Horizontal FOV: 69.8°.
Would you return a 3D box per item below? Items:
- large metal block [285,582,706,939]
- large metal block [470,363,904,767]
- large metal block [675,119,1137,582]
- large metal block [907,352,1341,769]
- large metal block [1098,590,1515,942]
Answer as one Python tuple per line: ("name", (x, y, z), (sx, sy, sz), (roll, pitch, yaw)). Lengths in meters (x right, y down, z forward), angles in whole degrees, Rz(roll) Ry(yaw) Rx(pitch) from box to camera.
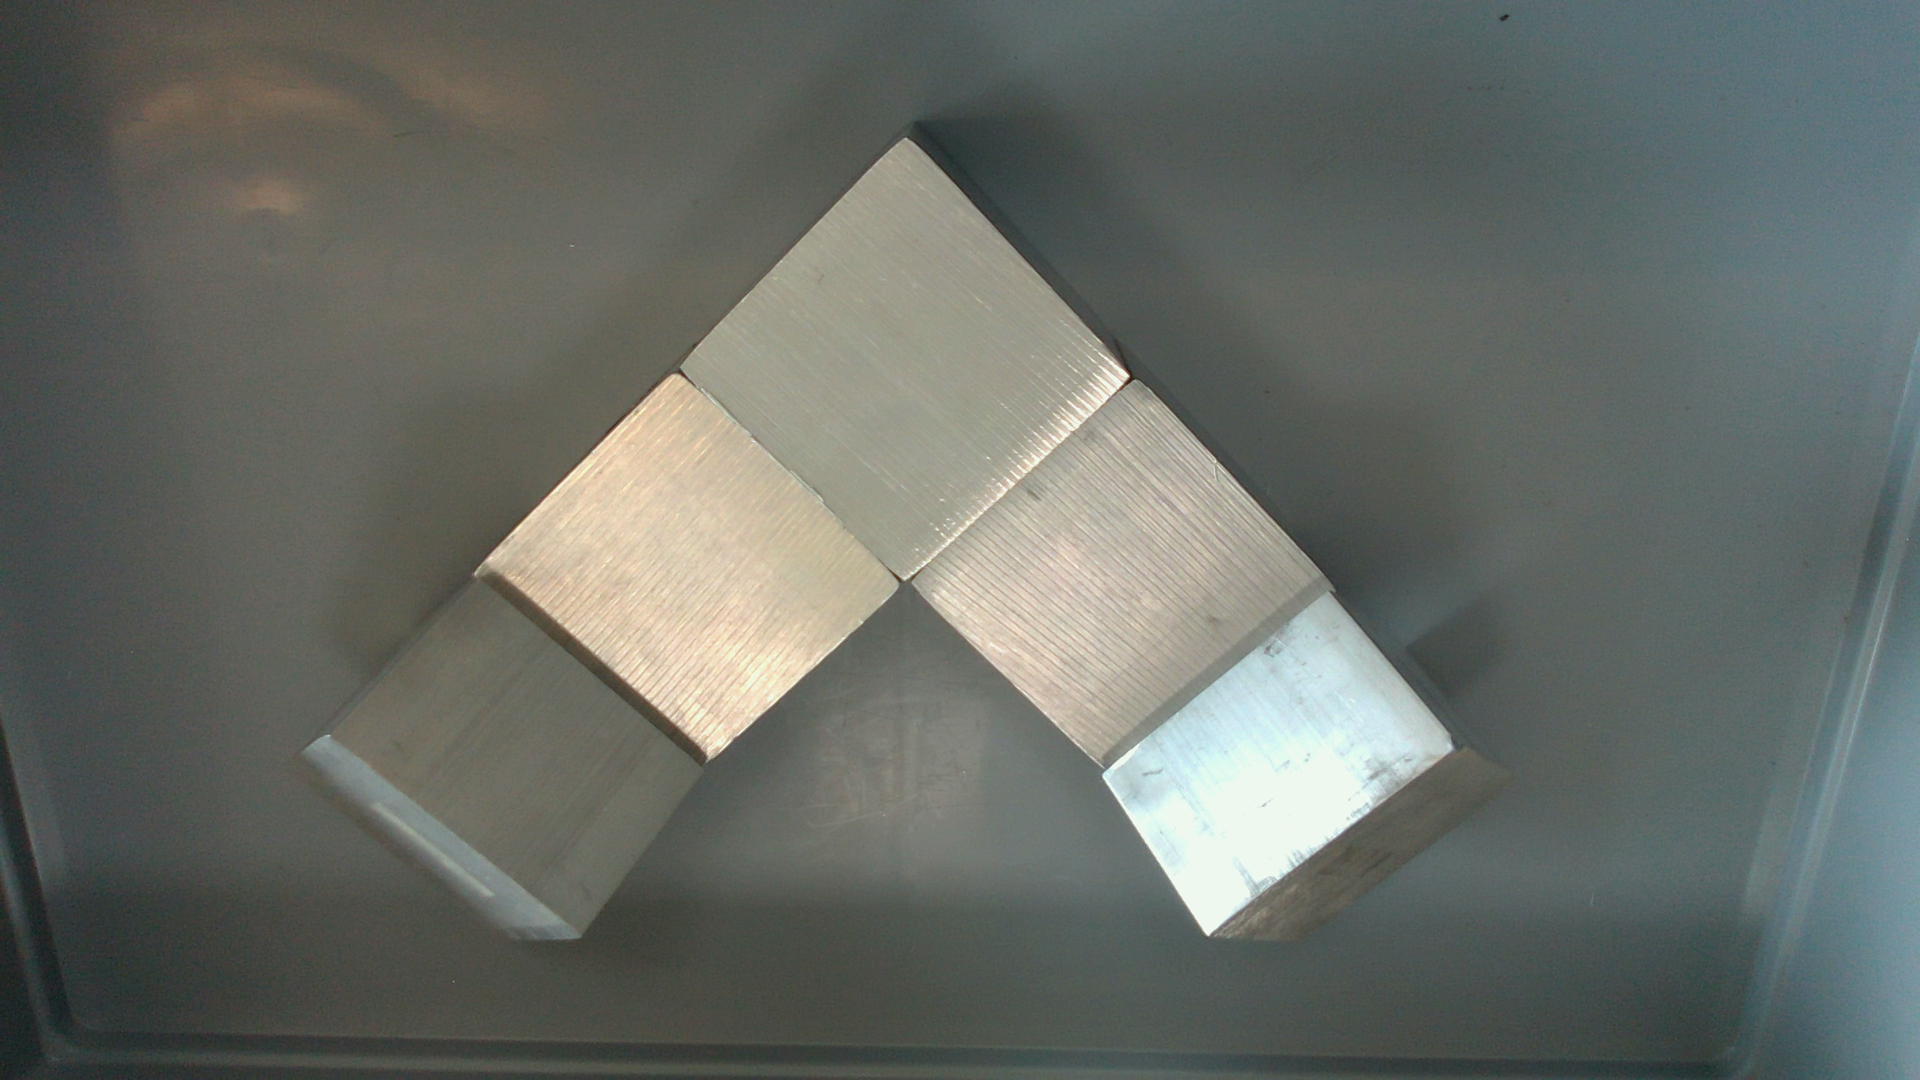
("large metal block", (-0.130, 0.065, 0.379), (0.080, 0.050, 0.080), (44, 147, -15))
("large metal block", (-0.071, 0.002, 0.379), (0.080, 0.050, 0.080), (-42, 105, 14))
("large metal block", (-0.013, -0.051, 0.360), (0.080, 0.050, 0.080), (-42, 105, 14))
("large metal block", (0.043, 0.004, 0.381), (0.080, 0.050, 0.080), (-42, 105, 14))
("large metal block", (0.098, 0.067, 0.382), (0.080, 0.050, 0.080), (-42, 148, 14))
